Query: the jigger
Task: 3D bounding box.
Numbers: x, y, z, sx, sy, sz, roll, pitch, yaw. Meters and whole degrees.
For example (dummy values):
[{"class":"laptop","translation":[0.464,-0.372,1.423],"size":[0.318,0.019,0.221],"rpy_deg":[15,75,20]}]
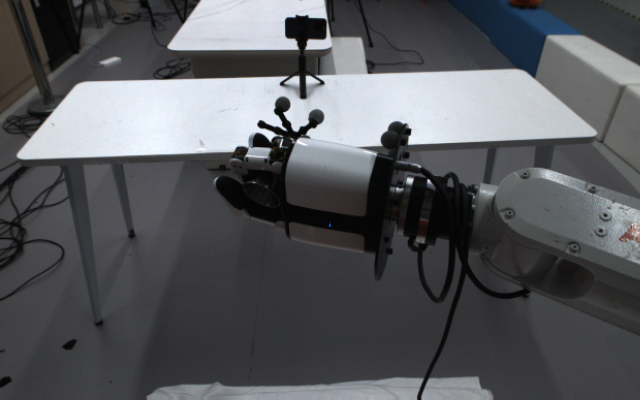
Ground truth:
[{"class":"jigger","translation":[-0.047,-0.034,0.520],"size":[0.043,0.043,0.071],"rpy_deg":[15,58,18]}]
